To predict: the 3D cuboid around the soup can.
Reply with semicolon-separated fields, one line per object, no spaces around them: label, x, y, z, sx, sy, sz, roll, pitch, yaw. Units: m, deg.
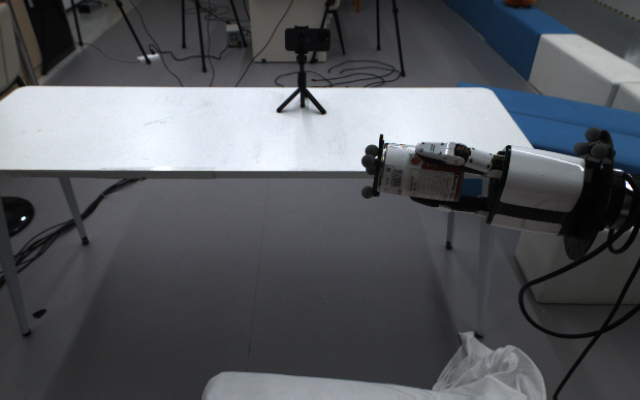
soup can;0.133;-0.037;0.629;0.101;0.067;0.067;8;35;9
